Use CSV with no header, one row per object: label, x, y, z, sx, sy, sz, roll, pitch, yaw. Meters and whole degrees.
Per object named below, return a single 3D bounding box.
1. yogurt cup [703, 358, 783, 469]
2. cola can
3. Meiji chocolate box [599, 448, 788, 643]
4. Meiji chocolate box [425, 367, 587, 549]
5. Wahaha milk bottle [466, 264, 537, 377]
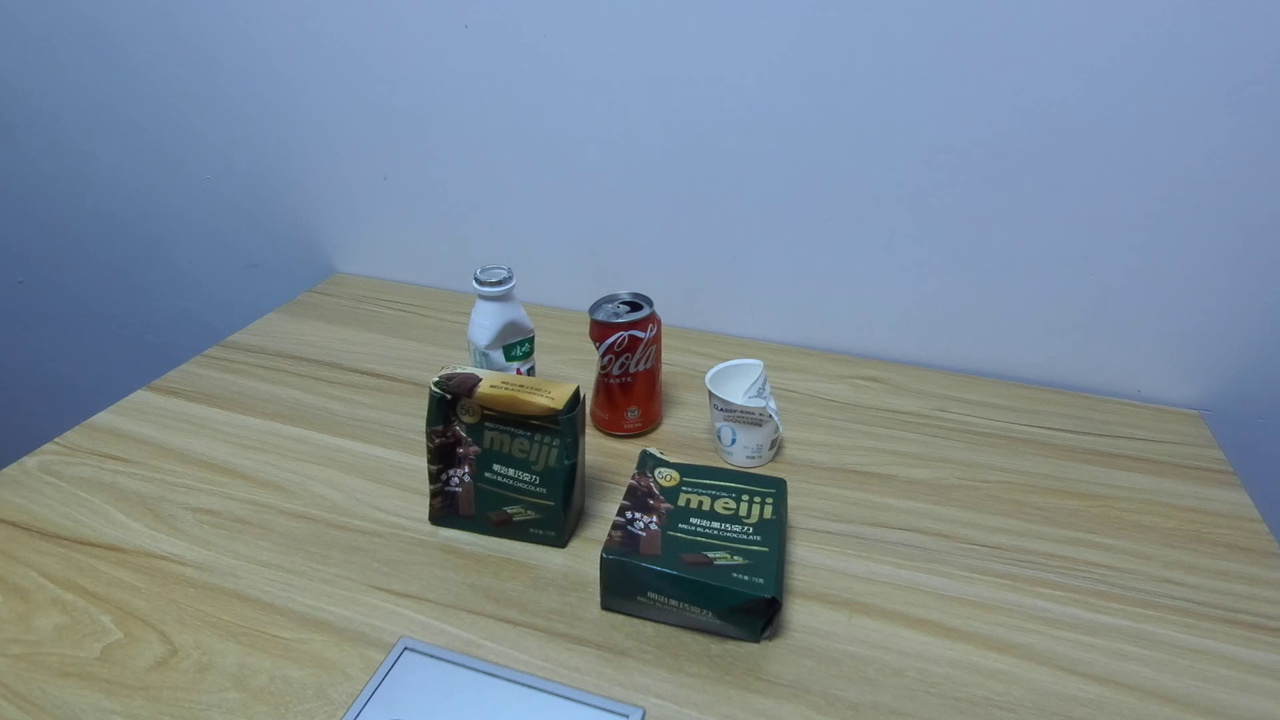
yogurt cup,0.085,0.046,0.583,0.067,0.070,0.067,1,34,0
cola can,-0.012,0.006,0.611,0.065,0.117,0.072,6,30,7
Meiji chocolate box,0.040,0.123,0.478,0.115,0.058,0.122,10,33,10
Meiji chocolate box,-0.096,0.068,0.514,0.117,0.117,0.052,7,24,12
Wahaha milk bottle,-0.117,-0.007,0.600,0.056,0.148,0.056,2,32,-1
